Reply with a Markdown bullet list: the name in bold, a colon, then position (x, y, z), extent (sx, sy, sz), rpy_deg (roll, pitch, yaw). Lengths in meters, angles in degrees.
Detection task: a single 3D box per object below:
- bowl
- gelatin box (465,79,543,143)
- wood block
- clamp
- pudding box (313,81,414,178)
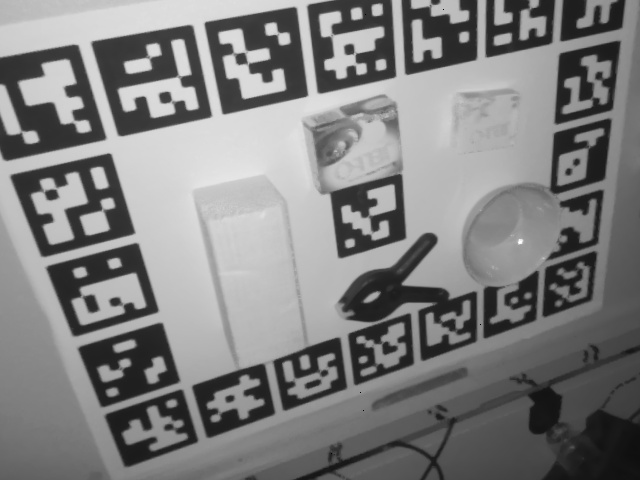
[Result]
- **bowl**: position (0.270, -0.015, 0.947), extent (0.163, 0.055, 0.160), rpy_deg (-8, 115, -16)
- **gelatin box**: position (0.230, -0.161, 0.866), extent (0.090, 0.030, 0.073), rpy_deg (-6, 115, -18)
- **wood block**: position (-0.081, 0.017, 0.801), extent (0.091, 0.091, 0.204), rpy_deg (-10, 118, -14)
- **clamp**: position (0.117, 0.052, 0.934), extent (0.166, 0.036, 0.121), rpy_deg (-22, 121, -7)
- **pudding box**: position (0.052, -0.130, 0.810), extent (0.115, 0.038, 0.089), rpy_deg (-15, 115, -16)
